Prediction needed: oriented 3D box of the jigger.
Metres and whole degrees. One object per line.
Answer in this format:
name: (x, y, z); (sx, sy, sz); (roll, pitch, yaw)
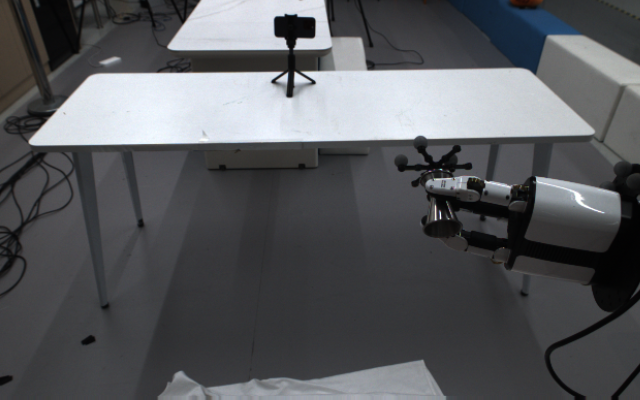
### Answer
jigger: (0.138, 0.001, 0.557); (0.043, 0.043, 0.071); (2, 59, -1)
